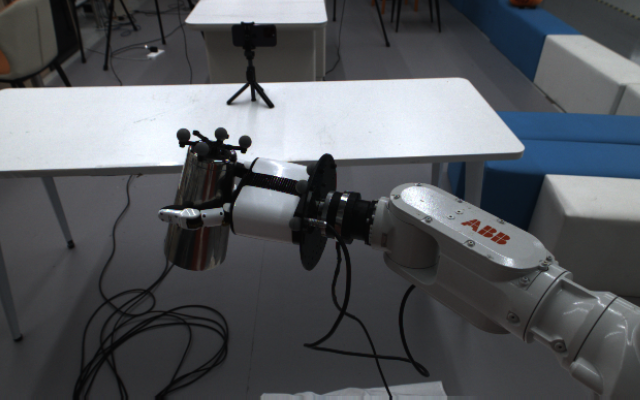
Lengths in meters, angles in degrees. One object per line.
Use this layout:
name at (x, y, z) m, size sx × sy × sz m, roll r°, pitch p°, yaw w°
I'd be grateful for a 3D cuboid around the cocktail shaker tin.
cocktail shaker tin at (-0.163, 0.004, 0.686) m, size 0.093 × 0.170 × 0.093 m, roll 12°, pitch 29°, yaw -7°
